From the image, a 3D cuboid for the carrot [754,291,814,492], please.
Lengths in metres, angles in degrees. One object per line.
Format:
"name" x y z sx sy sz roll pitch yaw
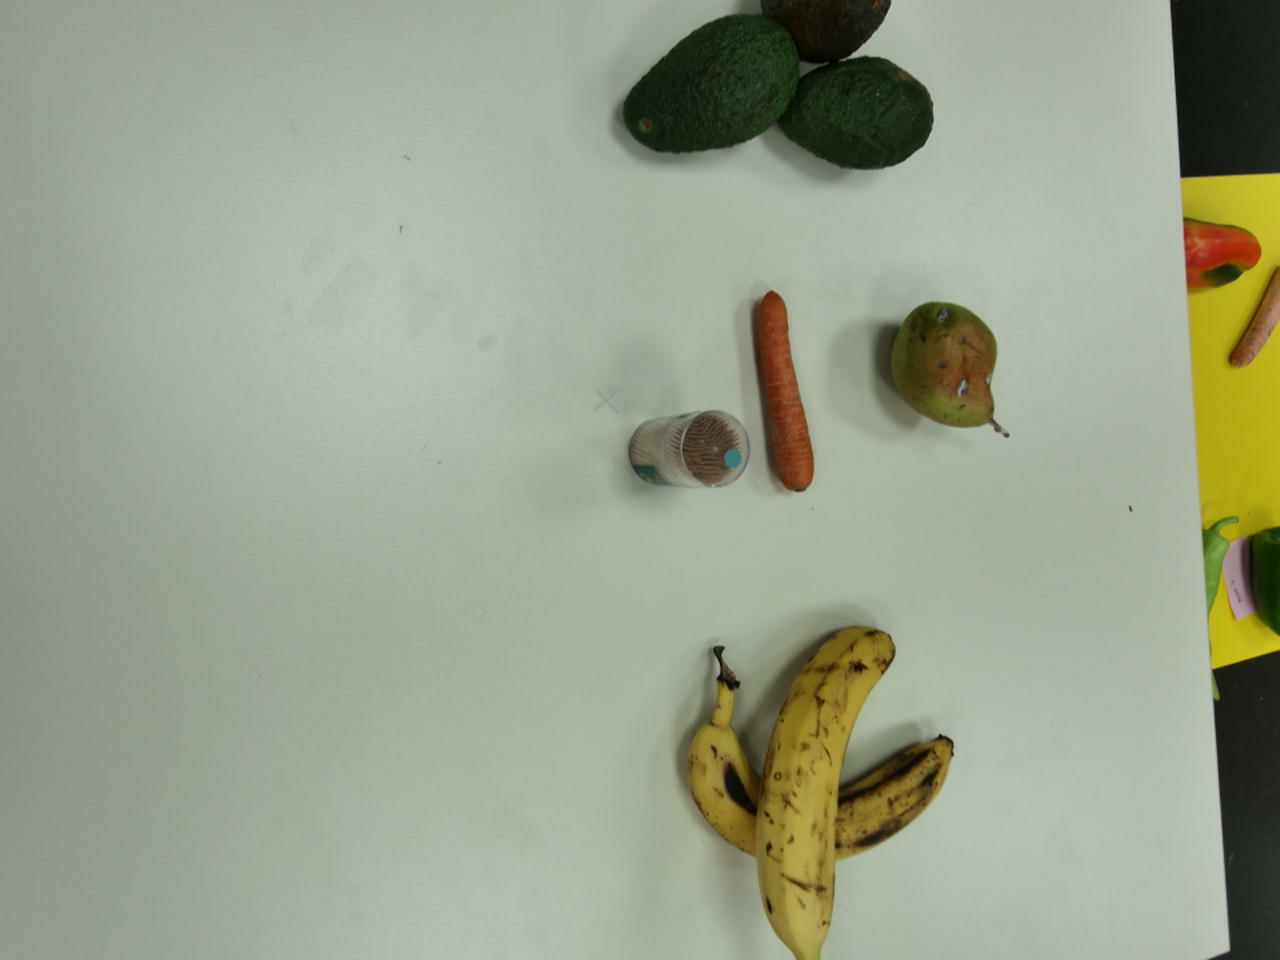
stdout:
"carrot" 0.086 -0.053 0.597 0.024 0.023 0.122 -9 94 -22
